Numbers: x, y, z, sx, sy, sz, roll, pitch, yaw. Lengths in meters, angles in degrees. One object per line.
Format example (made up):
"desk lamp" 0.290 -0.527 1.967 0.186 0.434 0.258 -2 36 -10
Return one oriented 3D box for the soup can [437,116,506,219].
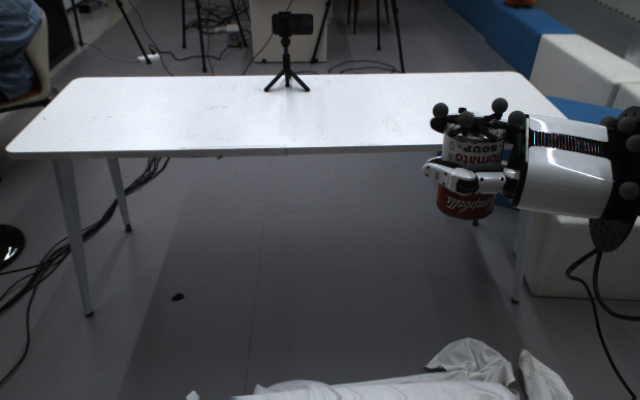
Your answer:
"soup can" 0.176 -0.037 0.563 0.067 0.101 0.067 -2 32 1
